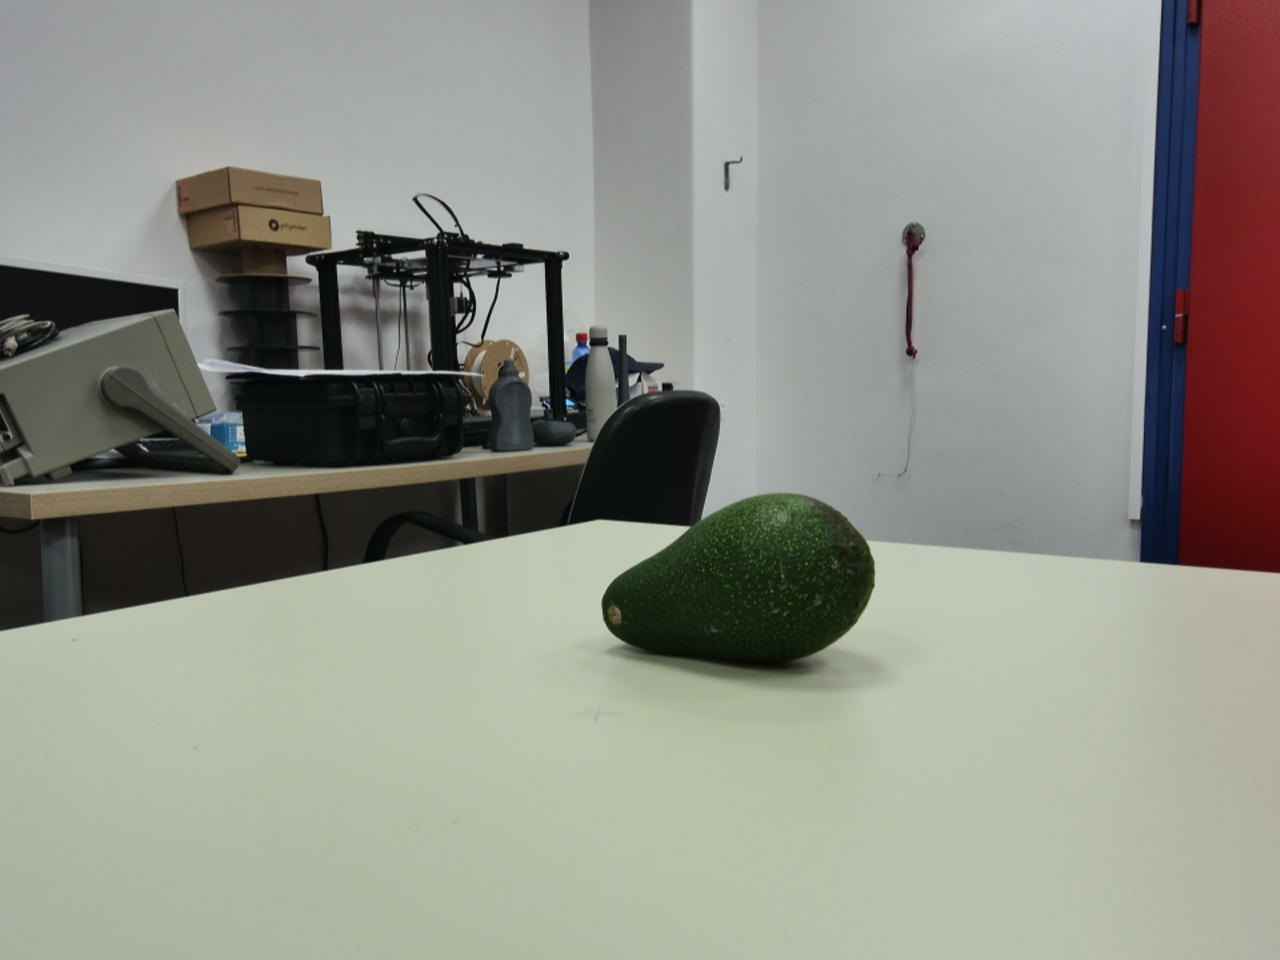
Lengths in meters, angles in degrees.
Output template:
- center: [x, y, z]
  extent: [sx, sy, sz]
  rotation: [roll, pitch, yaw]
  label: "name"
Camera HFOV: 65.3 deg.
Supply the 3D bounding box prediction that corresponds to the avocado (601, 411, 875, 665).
- center: [0.048, 0.043, 0.454]
  extent: [0.123, 0.076, 0.074]
  rotation: [3, 4, 44]
  label: "avocado"
